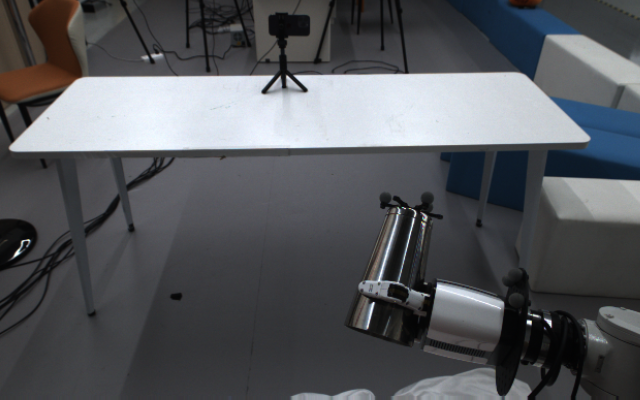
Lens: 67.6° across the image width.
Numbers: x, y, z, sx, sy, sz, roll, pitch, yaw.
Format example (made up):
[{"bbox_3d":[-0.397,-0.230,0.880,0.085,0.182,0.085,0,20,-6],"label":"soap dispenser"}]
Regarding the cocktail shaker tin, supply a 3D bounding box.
[{"bbox_3d":[0.099,0.100,0.653,0.093,0.093,0.170,14,73,17],"label":"cocktail shaker tin"}]
